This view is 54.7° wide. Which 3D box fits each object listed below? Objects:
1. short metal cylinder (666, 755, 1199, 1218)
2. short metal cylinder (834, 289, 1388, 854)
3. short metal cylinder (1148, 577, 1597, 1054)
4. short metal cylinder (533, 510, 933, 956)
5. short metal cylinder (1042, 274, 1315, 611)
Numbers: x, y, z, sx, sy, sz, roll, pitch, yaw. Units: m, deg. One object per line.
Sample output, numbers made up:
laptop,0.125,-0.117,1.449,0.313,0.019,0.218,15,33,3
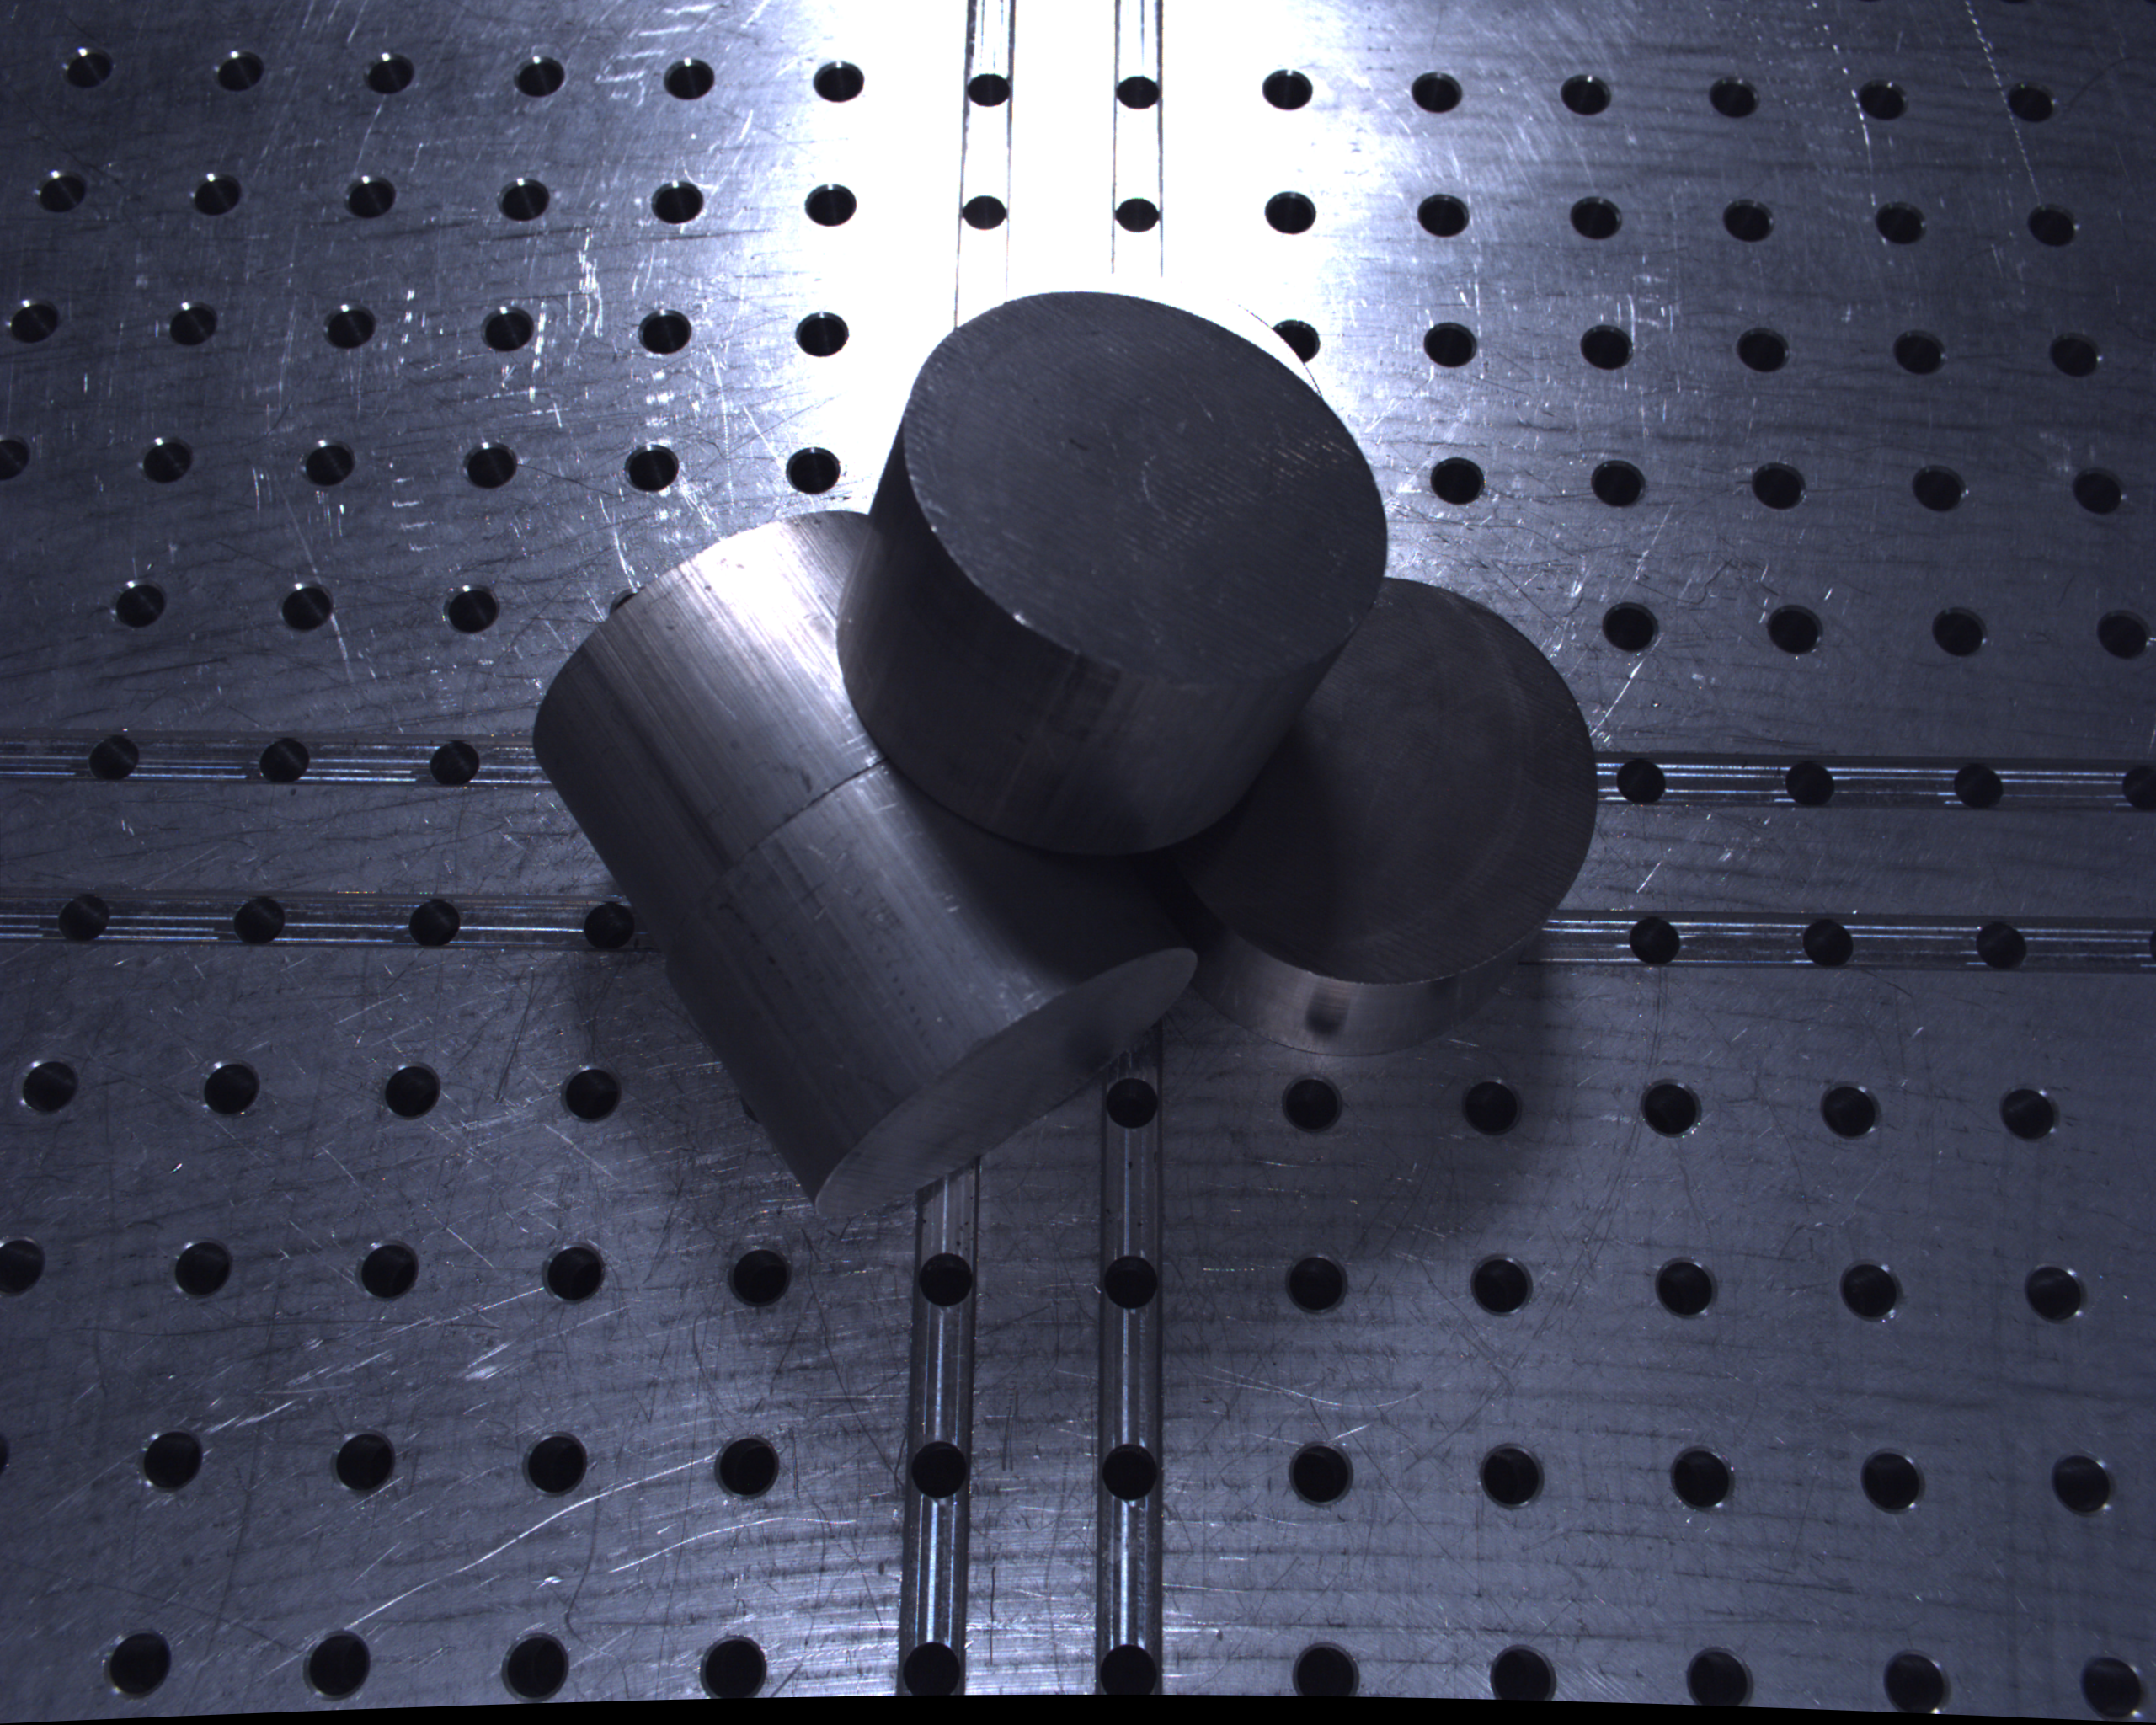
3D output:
short metal cylinder,-0.026,0.020,0.375,0.080,0.080,0.050,-32,74,-11
short metal cylinder,0.004,-0.048,0.348,0.081,0.050,0.080,10,56,-15
short metal cylinder,0.054,-0.008,0.401,0.081,0.050,0.080,0,70,0
short metal cylinder,-0.053,-0.020,0.389,0.080,0.080,0.050,-32,74,-11
short metal cylinder,0.009,-0.071,0.423,0.081,0.050,0.080,0,70,0
